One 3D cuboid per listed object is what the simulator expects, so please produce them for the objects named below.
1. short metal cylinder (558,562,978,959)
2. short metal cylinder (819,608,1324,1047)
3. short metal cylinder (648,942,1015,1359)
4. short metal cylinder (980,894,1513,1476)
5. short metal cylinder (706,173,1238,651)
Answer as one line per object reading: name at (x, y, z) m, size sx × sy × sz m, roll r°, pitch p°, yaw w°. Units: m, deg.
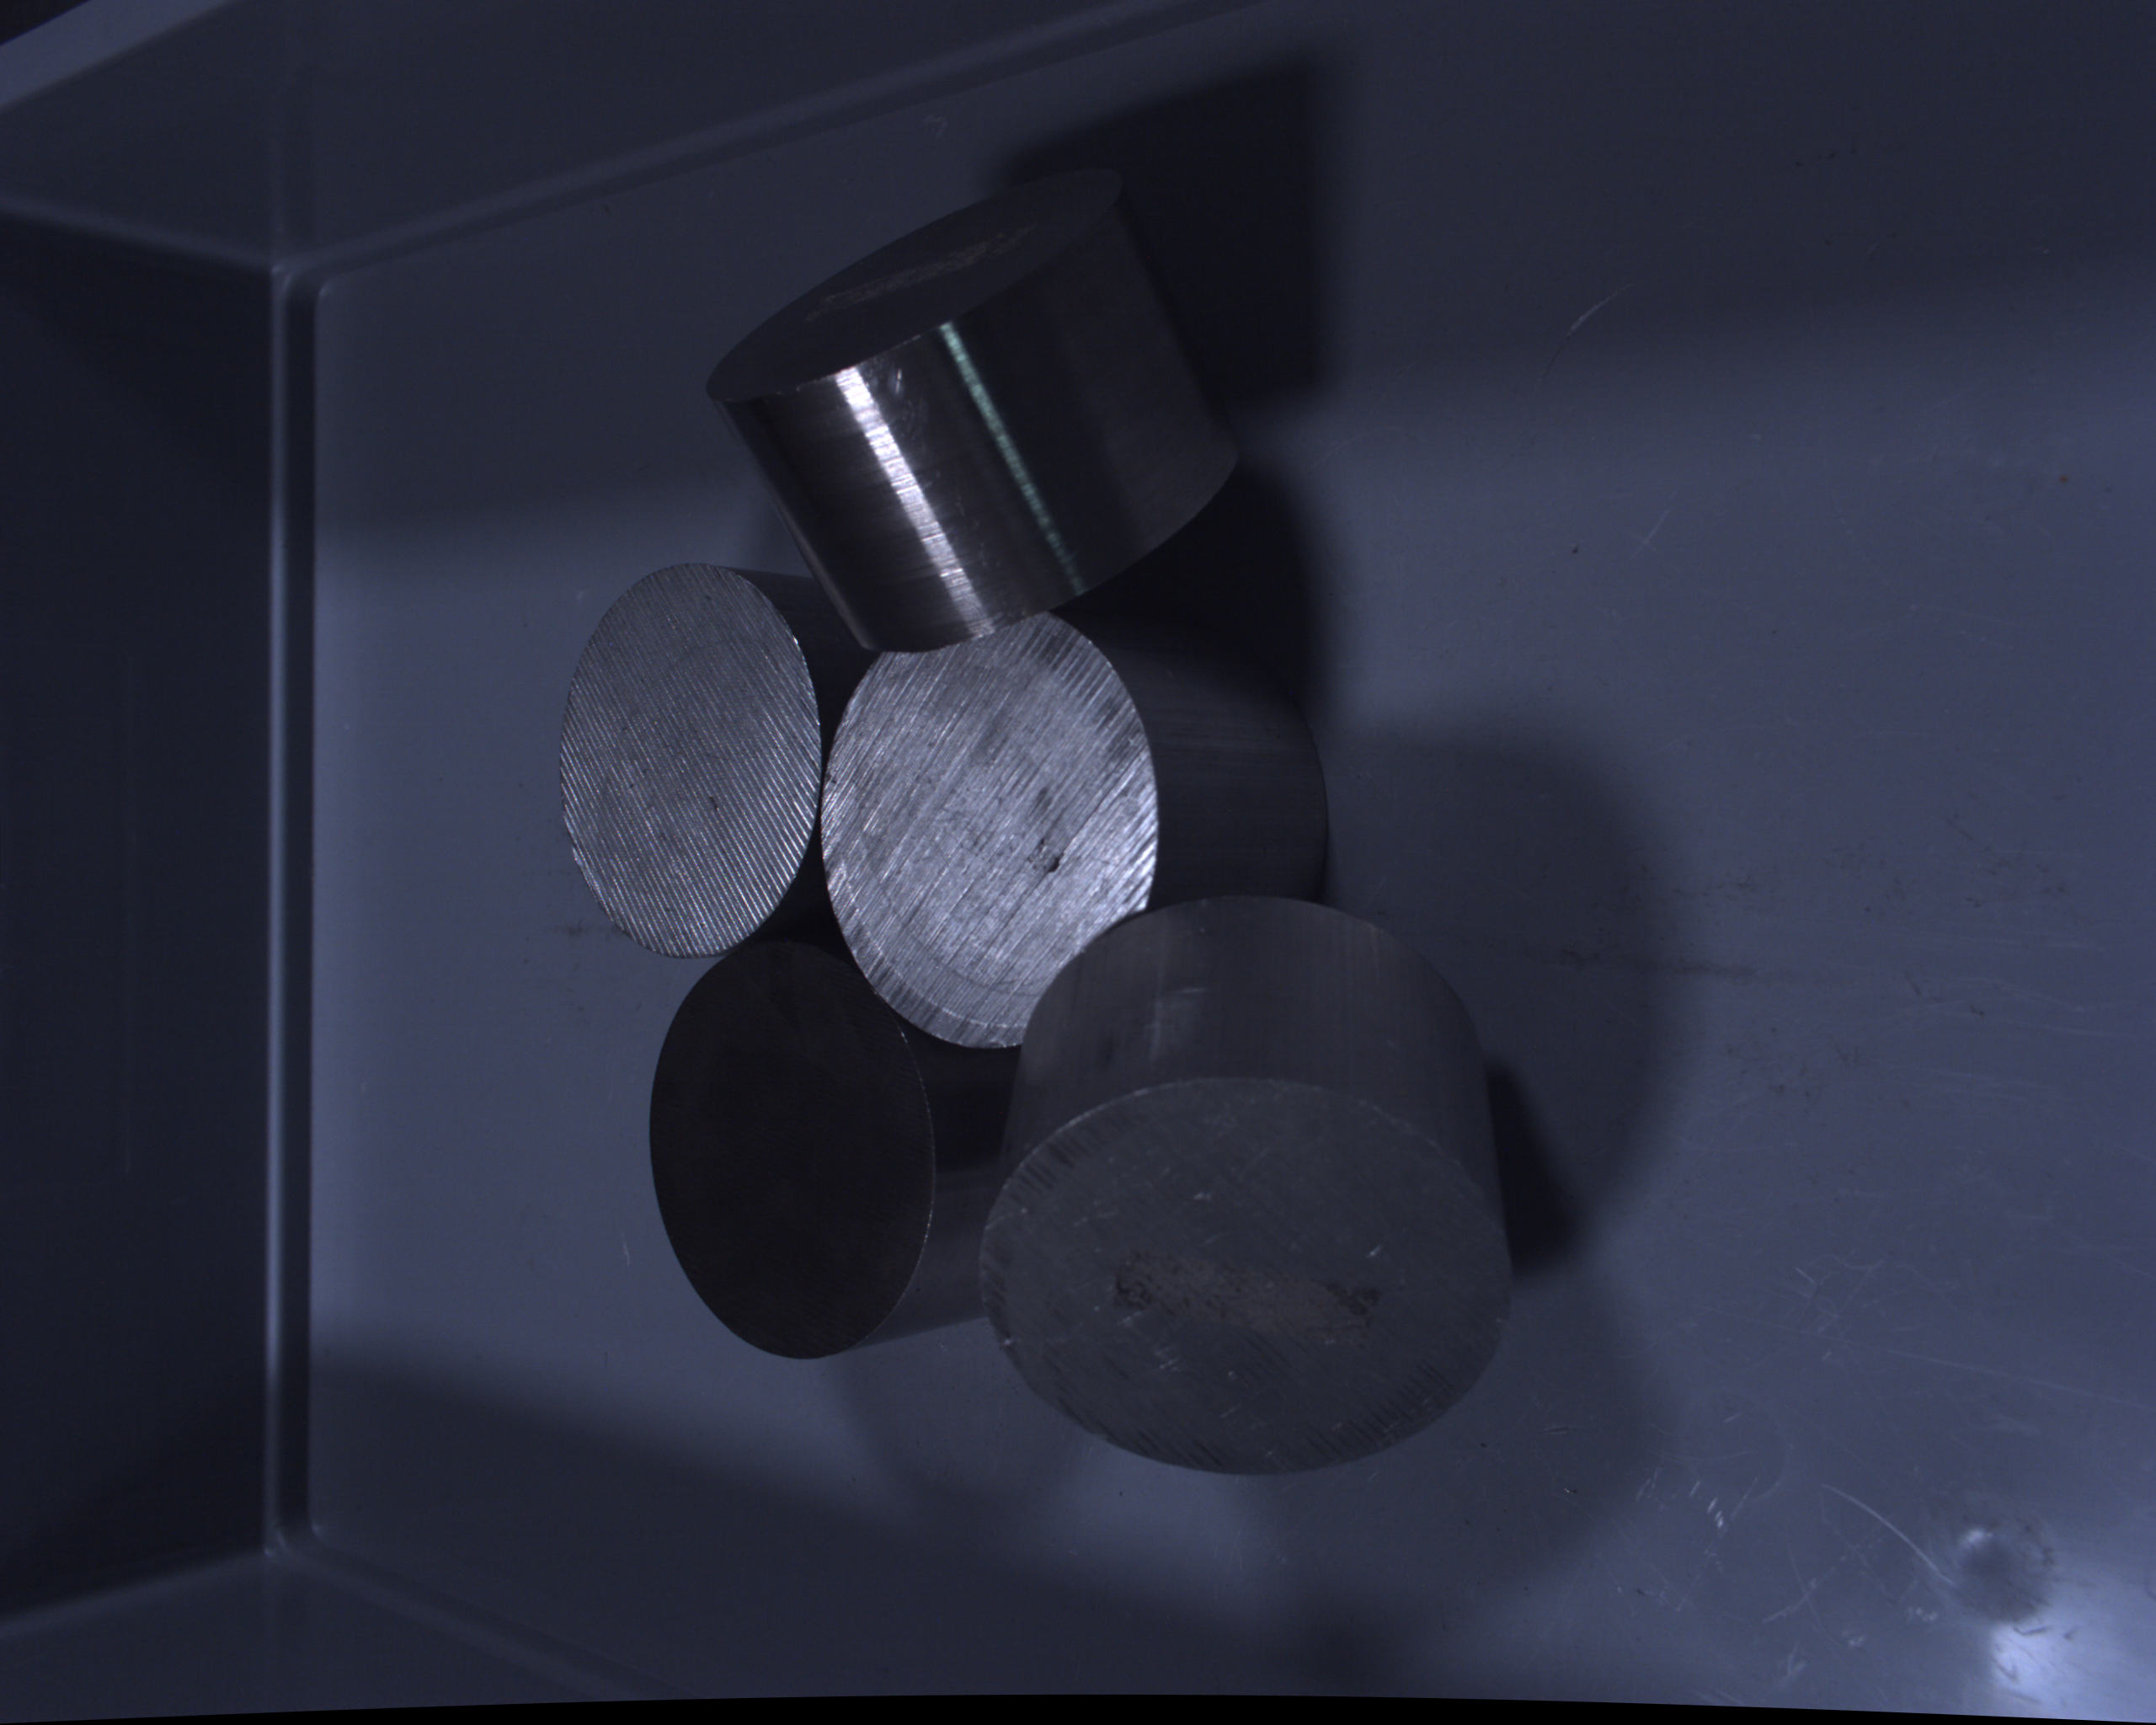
short metal cylinder at (-0.064, -0.021, 0.438) m, size 0.080 × 0.050 × 0.079 m, roll 0°, pitch 90°, yaw 39°
short metal cylinder at (-0.002, -0.007, 0.388) m, size 0.080 × 0.050 × 0.079 m, roll 0°, pitch 90°, yaw 39°
short metal cylinder at (-0.041, 0.055, 0.419) m, size 0.080 × 0.050 × 0.079 m, roll 0°, pitch 90°, yaw 39°
short metal cylinder at (0.027, 0.052, 0.338) m, size 0.080 × 0.050 × 0.079 m, roll 2°, pitch 121°, yaw 4°
short metal cylinder at (-0.018, -0.081, 0.373) m, size 0.080 × 0.080 × 0.050 m, roll -4°, pitch 126°, yaw 39°
